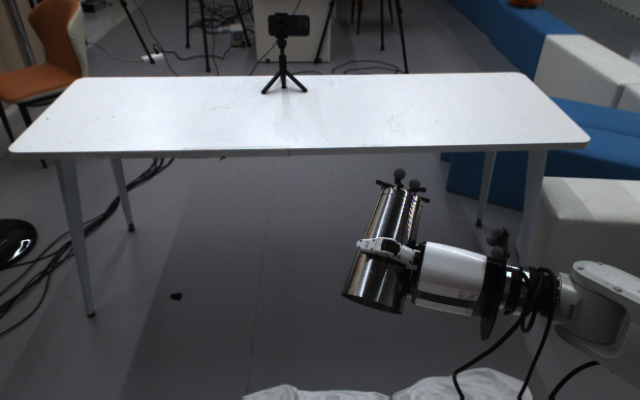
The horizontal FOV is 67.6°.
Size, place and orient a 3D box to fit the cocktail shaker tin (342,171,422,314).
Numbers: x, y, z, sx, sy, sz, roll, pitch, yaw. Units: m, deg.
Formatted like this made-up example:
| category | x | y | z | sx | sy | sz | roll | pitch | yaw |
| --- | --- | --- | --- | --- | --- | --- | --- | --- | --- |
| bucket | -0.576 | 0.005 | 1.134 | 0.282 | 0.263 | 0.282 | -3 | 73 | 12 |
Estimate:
| category | x | y | z | sx | sy | sz | roll | pitch | yaw |
| --- | --- | --- | --- | --- | --- | --- | --- | --- | --- |
| cocktail shaker tin | 0.098 | 0.072 | 0.713 | 0.093 | 0.093 | 0.170 | 14 | 73 | 17 |
